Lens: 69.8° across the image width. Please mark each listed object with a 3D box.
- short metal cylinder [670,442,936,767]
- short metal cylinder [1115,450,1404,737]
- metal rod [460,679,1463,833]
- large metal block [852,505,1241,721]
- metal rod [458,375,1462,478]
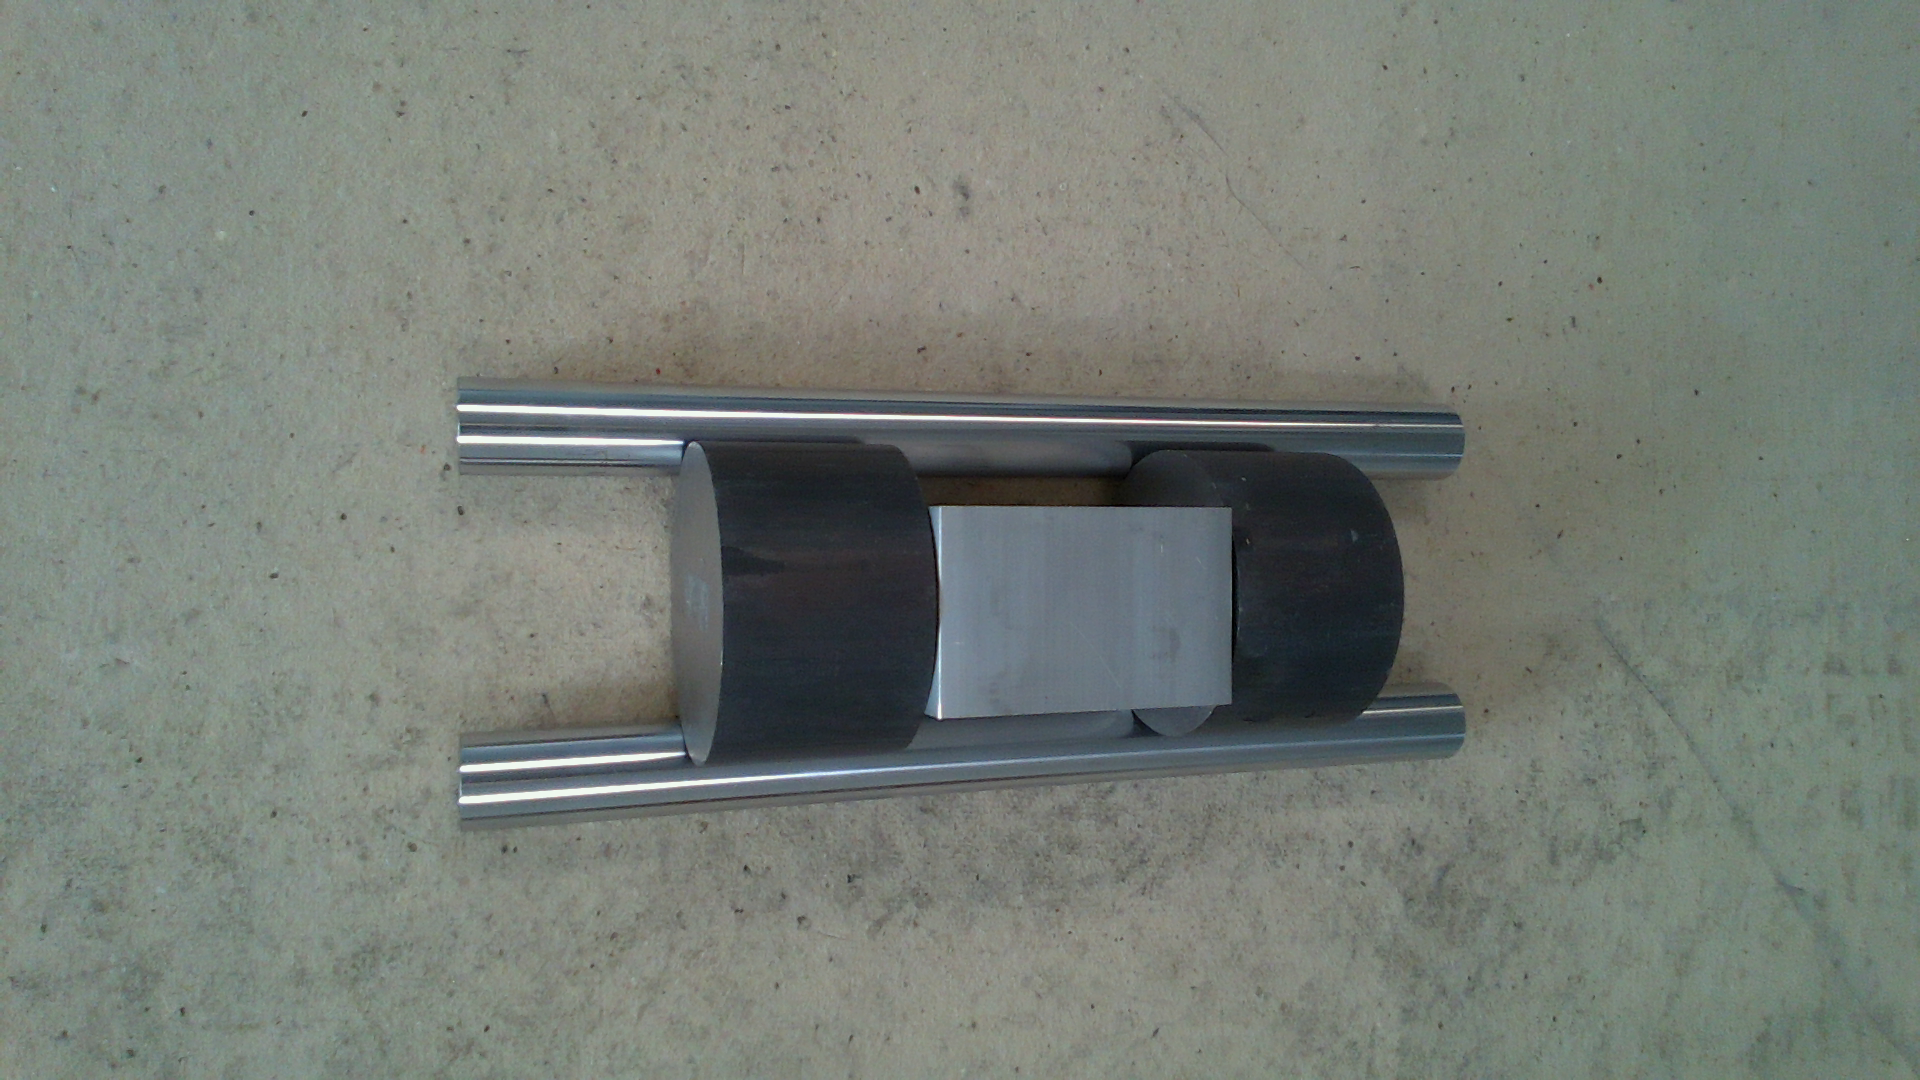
[{"bbox_3d":[-0.043,0.015,0.348,0.050,0.080,0.080,-1,90,-20],"label":"short metal cylinder"},{"bbox_3d":[0.081,0.014,0.393,0.050,0.080,0.080,-1,90,-20],"label":"short metal cylinder"},{"bbox_3d":[0.015,0.060,0.399,0.301,0.025,0.025,-1,90,-20],"label":"metal rod"},{"bbox_3d":[0.019,0.017,0.369,0.080,0.080,0.050,0,90,-20],"label":"large metal block"},{"bbox_3d":[0.015,-0.031,0.399,0.301,0.025,0.025,-1,90,-20],"label":"metal rod"}]
